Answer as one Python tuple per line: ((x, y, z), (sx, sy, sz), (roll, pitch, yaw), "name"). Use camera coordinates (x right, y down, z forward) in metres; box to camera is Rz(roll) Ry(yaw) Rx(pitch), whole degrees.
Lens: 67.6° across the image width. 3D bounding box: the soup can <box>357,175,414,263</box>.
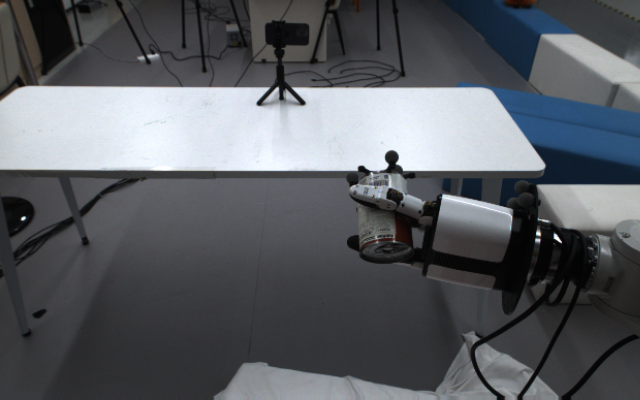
((0.084, 0.022, 0.618), (0.067, 0.067, 0.101), (1, 62, -2), "soup can")
